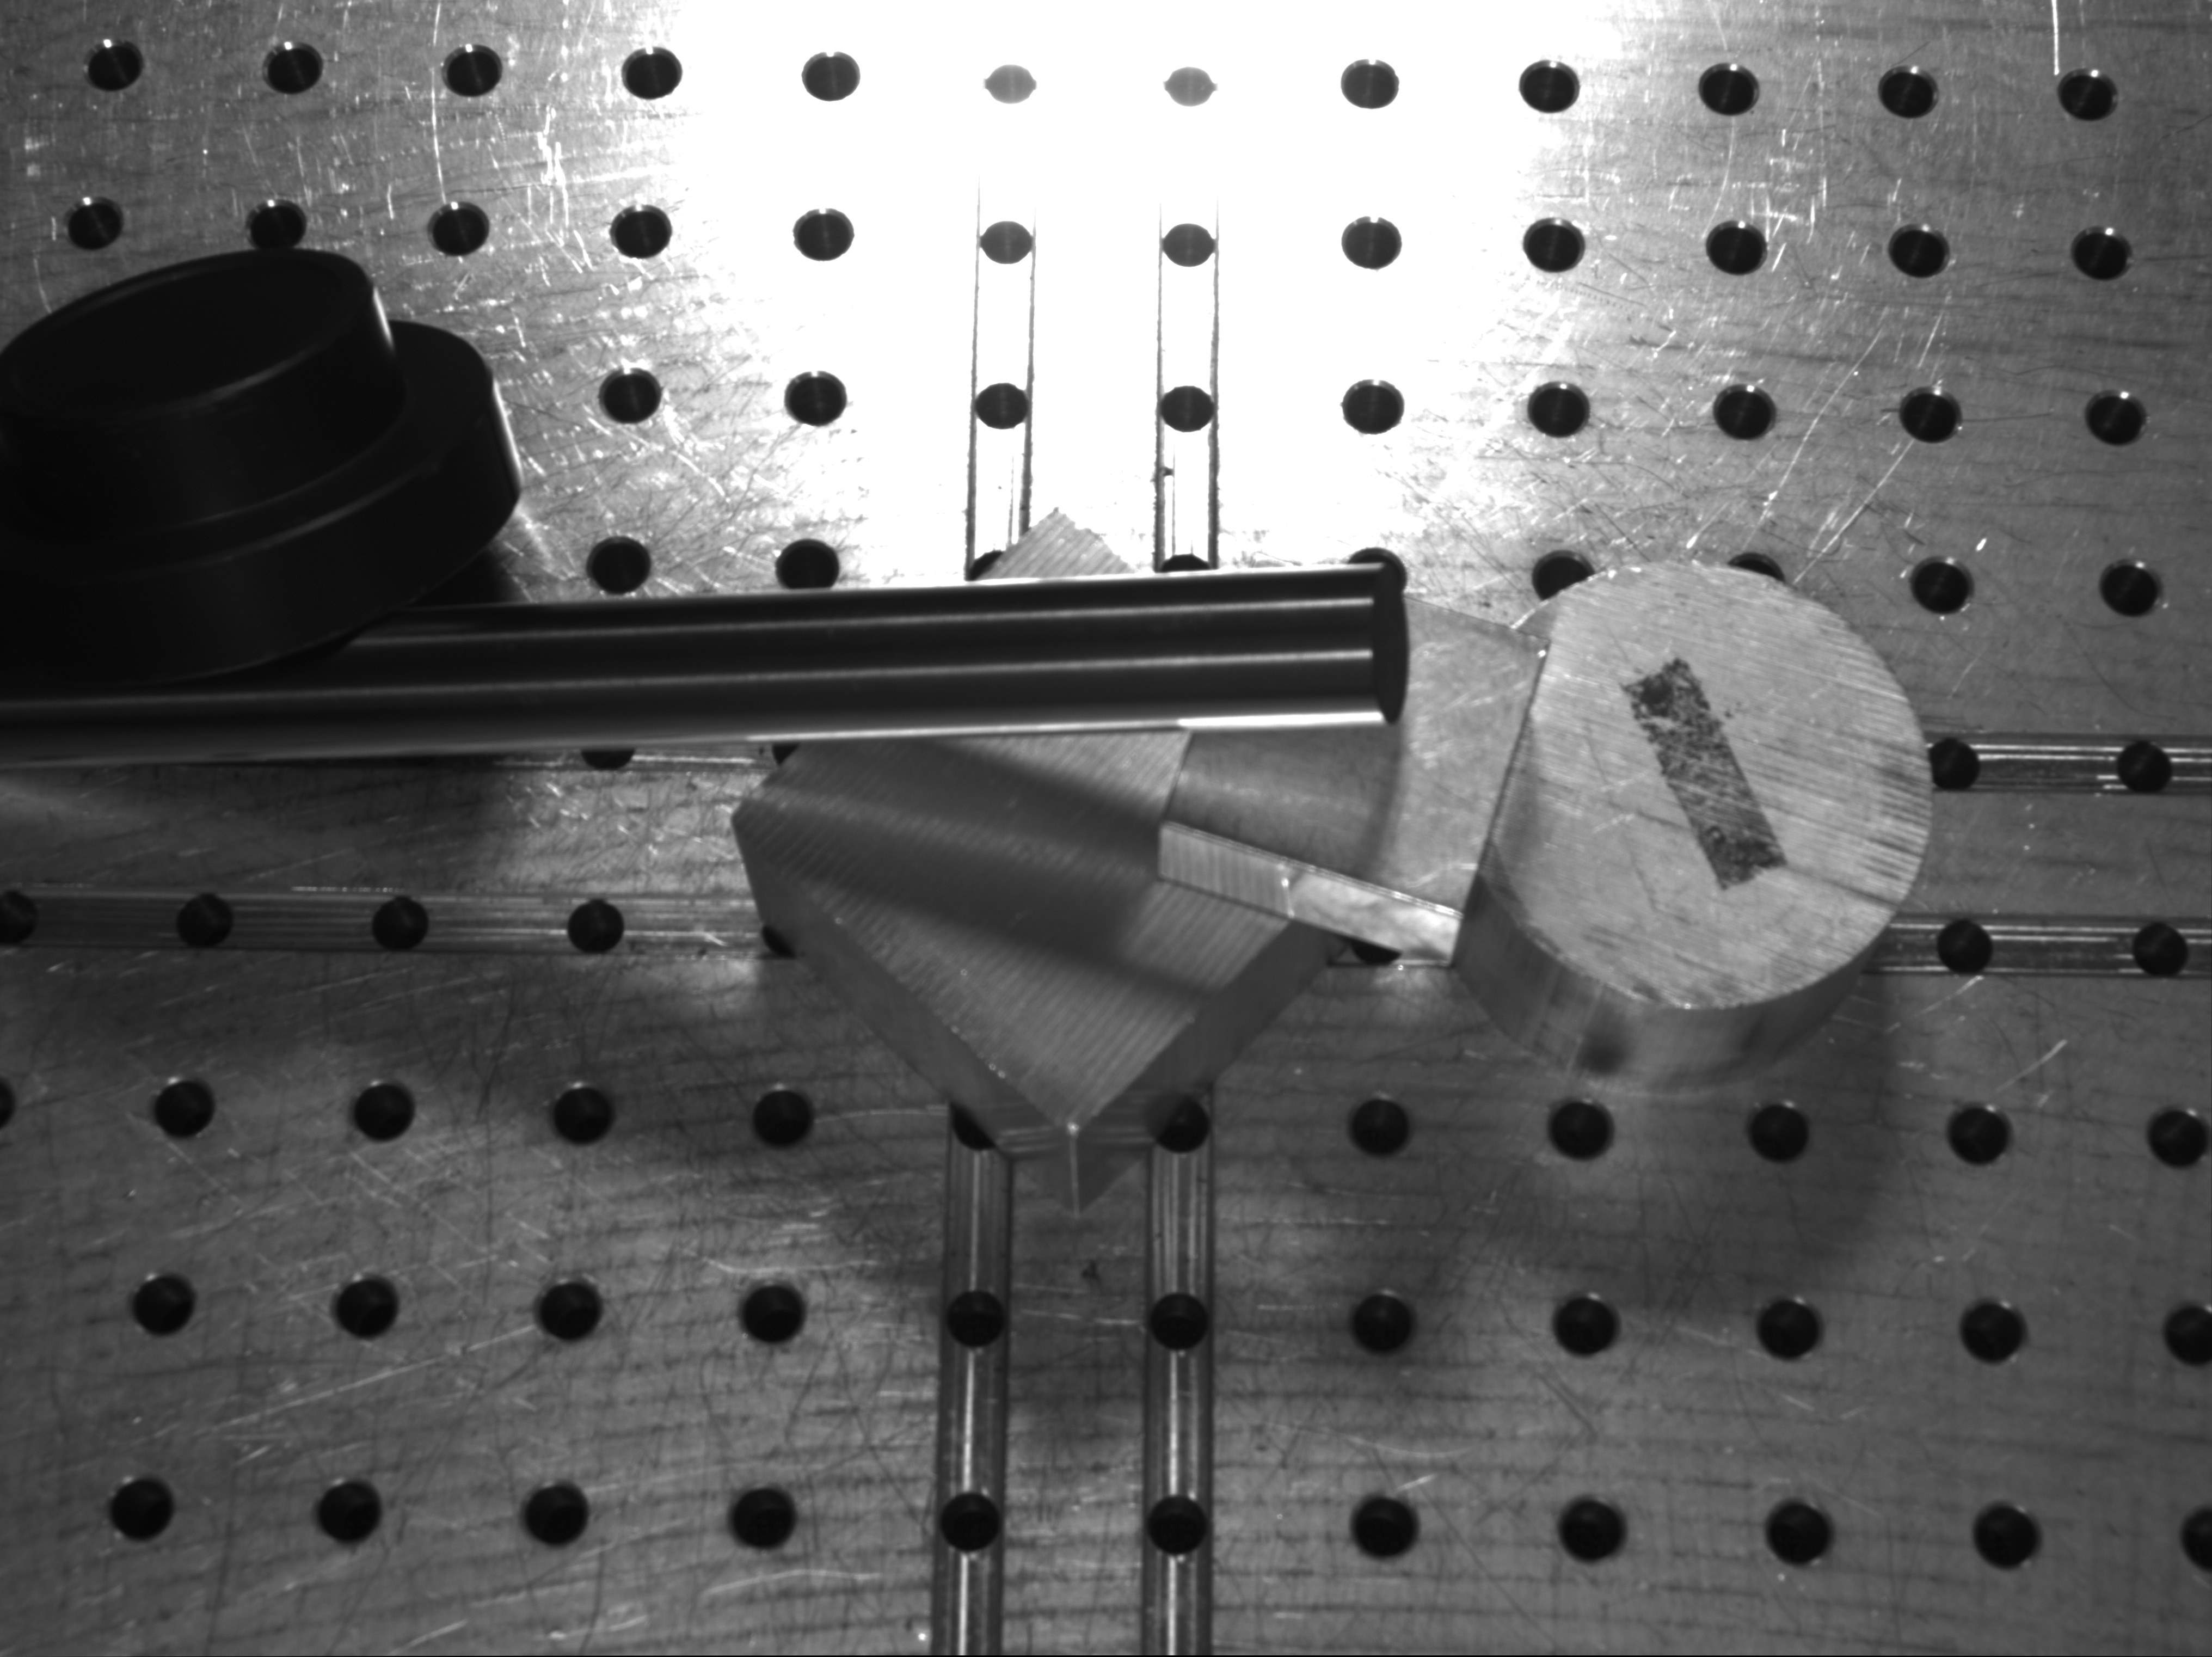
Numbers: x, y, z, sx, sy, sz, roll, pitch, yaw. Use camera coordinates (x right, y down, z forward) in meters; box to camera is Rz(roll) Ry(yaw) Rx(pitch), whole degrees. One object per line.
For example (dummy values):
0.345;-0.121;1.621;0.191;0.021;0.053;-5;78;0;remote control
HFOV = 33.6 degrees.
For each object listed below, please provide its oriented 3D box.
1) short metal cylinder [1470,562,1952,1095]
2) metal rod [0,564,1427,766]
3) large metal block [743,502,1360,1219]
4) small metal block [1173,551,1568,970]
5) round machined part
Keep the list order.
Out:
0.101;0.001;0.634;0.080;0.050;0.080;0;70;0;short metal cylinder
-0.096;-0.025;0.610;0.300;0.025;0.025;-1;69;18;metal rod
-0.003;0.006;0.630;0.080;0.050;0.080;42;75;14;large metal block
0.043;-0.011;0.596;0.050;0.025;0.050;18;71;6;small metal block
-0.151;-0.068;0.634;0.098;0.042;0.098;-9;31;6;round machined part
